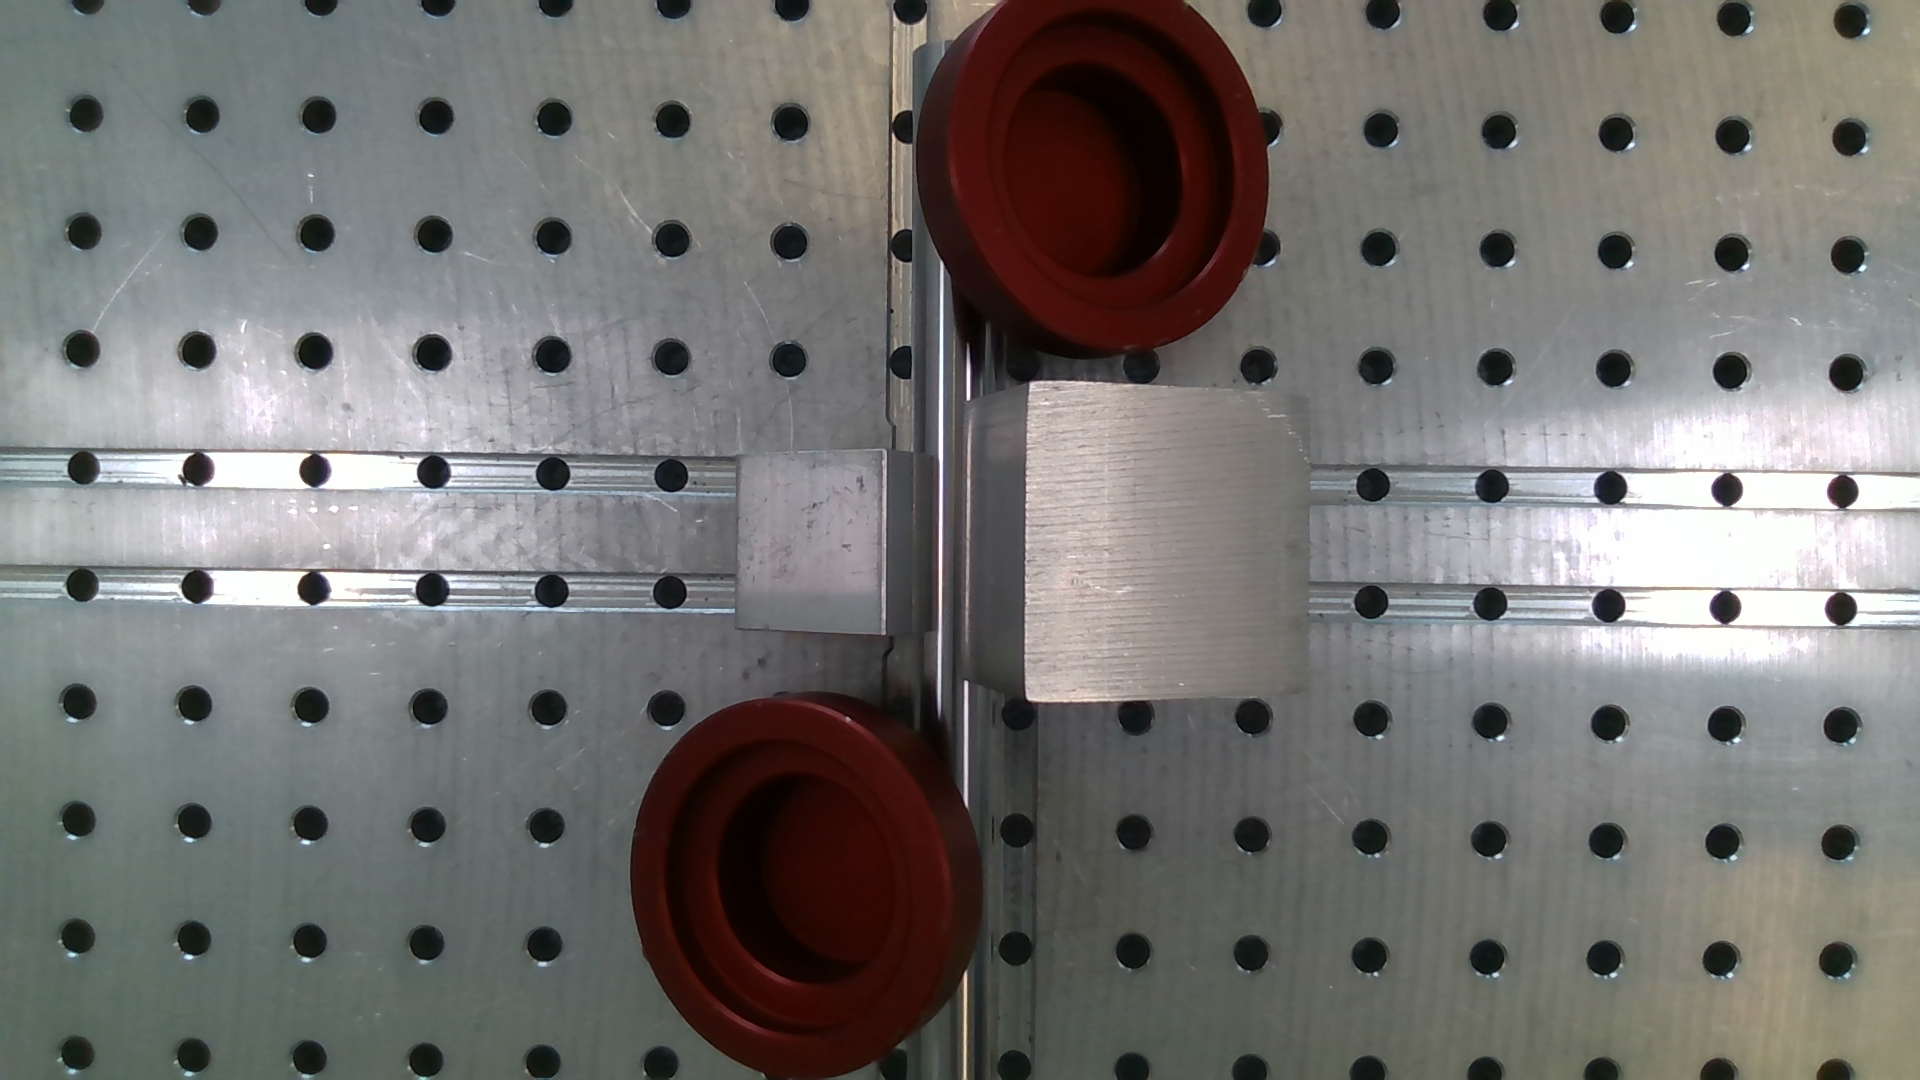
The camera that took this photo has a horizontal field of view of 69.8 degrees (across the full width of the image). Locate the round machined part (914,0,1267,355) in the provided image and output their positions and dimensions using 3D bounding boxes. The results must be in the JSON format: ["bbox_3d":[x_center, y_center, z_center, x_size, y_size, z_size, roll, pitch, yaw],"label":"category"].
[{"bbox_3d":[0.032,-0.099,0.376,0.098,0.042,0.098,0,90,-26],"label":"round machined part"}]

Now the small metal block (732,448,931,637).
[{"bbox_3d":[-0.036,0.001,0.388,0.050,0.025,0.050,1,90,29],"label":"small metal block"}]

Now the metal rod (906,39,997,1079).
[{"bbox_3d":[-0.002,0.010,0.399,0.025,0.025,0.300,0,90,0],"label":"metal rod"}]

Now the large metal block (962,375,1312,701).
[{"bbox_3d":[0.046,0.000,0.374,0.080,0.050,0.080,1,90,-18],"label":"large metal block"}]

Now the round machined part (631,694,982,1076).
[{"bbox_3d":[-0.038,0.091,0.377,0.098,0.042,0.098,0,90,25],"label":"round machined part"}]
